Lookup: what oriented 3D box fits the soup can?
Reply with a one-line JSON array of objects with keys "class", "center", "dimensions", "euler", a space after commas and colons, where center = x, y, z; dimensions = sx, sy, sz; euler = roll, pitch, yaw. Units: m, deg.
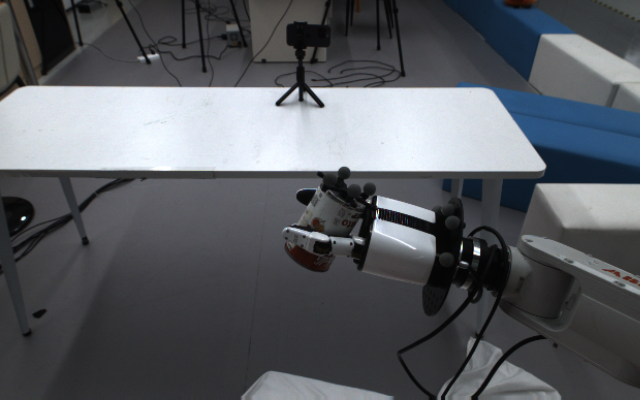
[{"class": "soup can", "center": [0.007, 0.034, 0.630], "dimensions": [0.067, 0.101, 0.067], "euler": [27, 18, -10]}]
